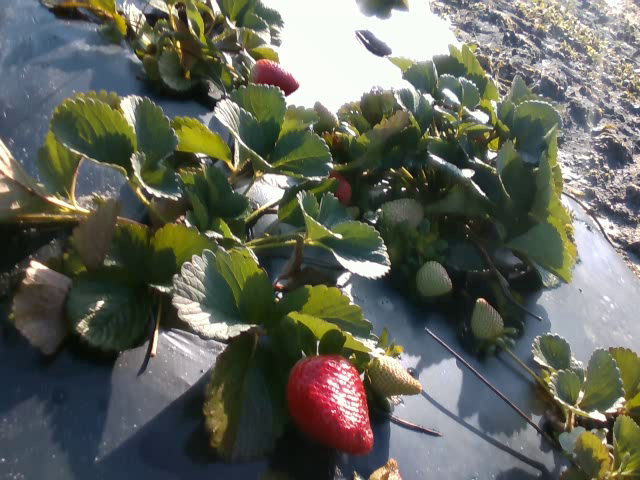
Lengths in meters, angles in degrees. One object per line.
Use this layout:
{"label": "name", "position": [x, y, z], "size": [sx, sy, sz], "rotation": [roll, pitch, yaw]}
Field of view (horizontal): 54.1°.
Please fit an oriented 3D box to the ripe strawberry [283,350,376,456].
{"label": "ripe strawberry", "position": [0.008, 0.087, 0.324], "size": [0.056, 0.055, 0.072], "rotation": [-36, 37, -6]}
